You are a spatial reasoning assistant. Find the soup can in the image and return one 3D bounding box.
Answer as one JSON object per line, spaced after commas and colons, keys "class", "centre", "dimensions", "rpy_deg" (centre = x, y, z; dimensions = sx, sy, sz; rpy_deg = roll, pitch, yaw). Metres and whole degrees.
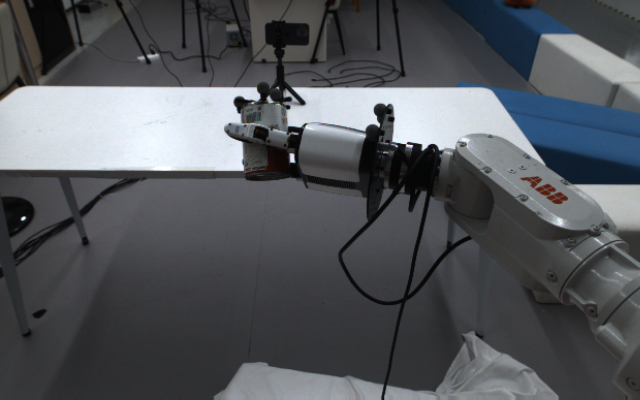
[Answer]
{"class": "soup can", "centre": [-0.076, -0.081, 0.686], "dimensions": [0.067, 0.101, 0.067], "rpy_deg": [-5, -5, 0]}
